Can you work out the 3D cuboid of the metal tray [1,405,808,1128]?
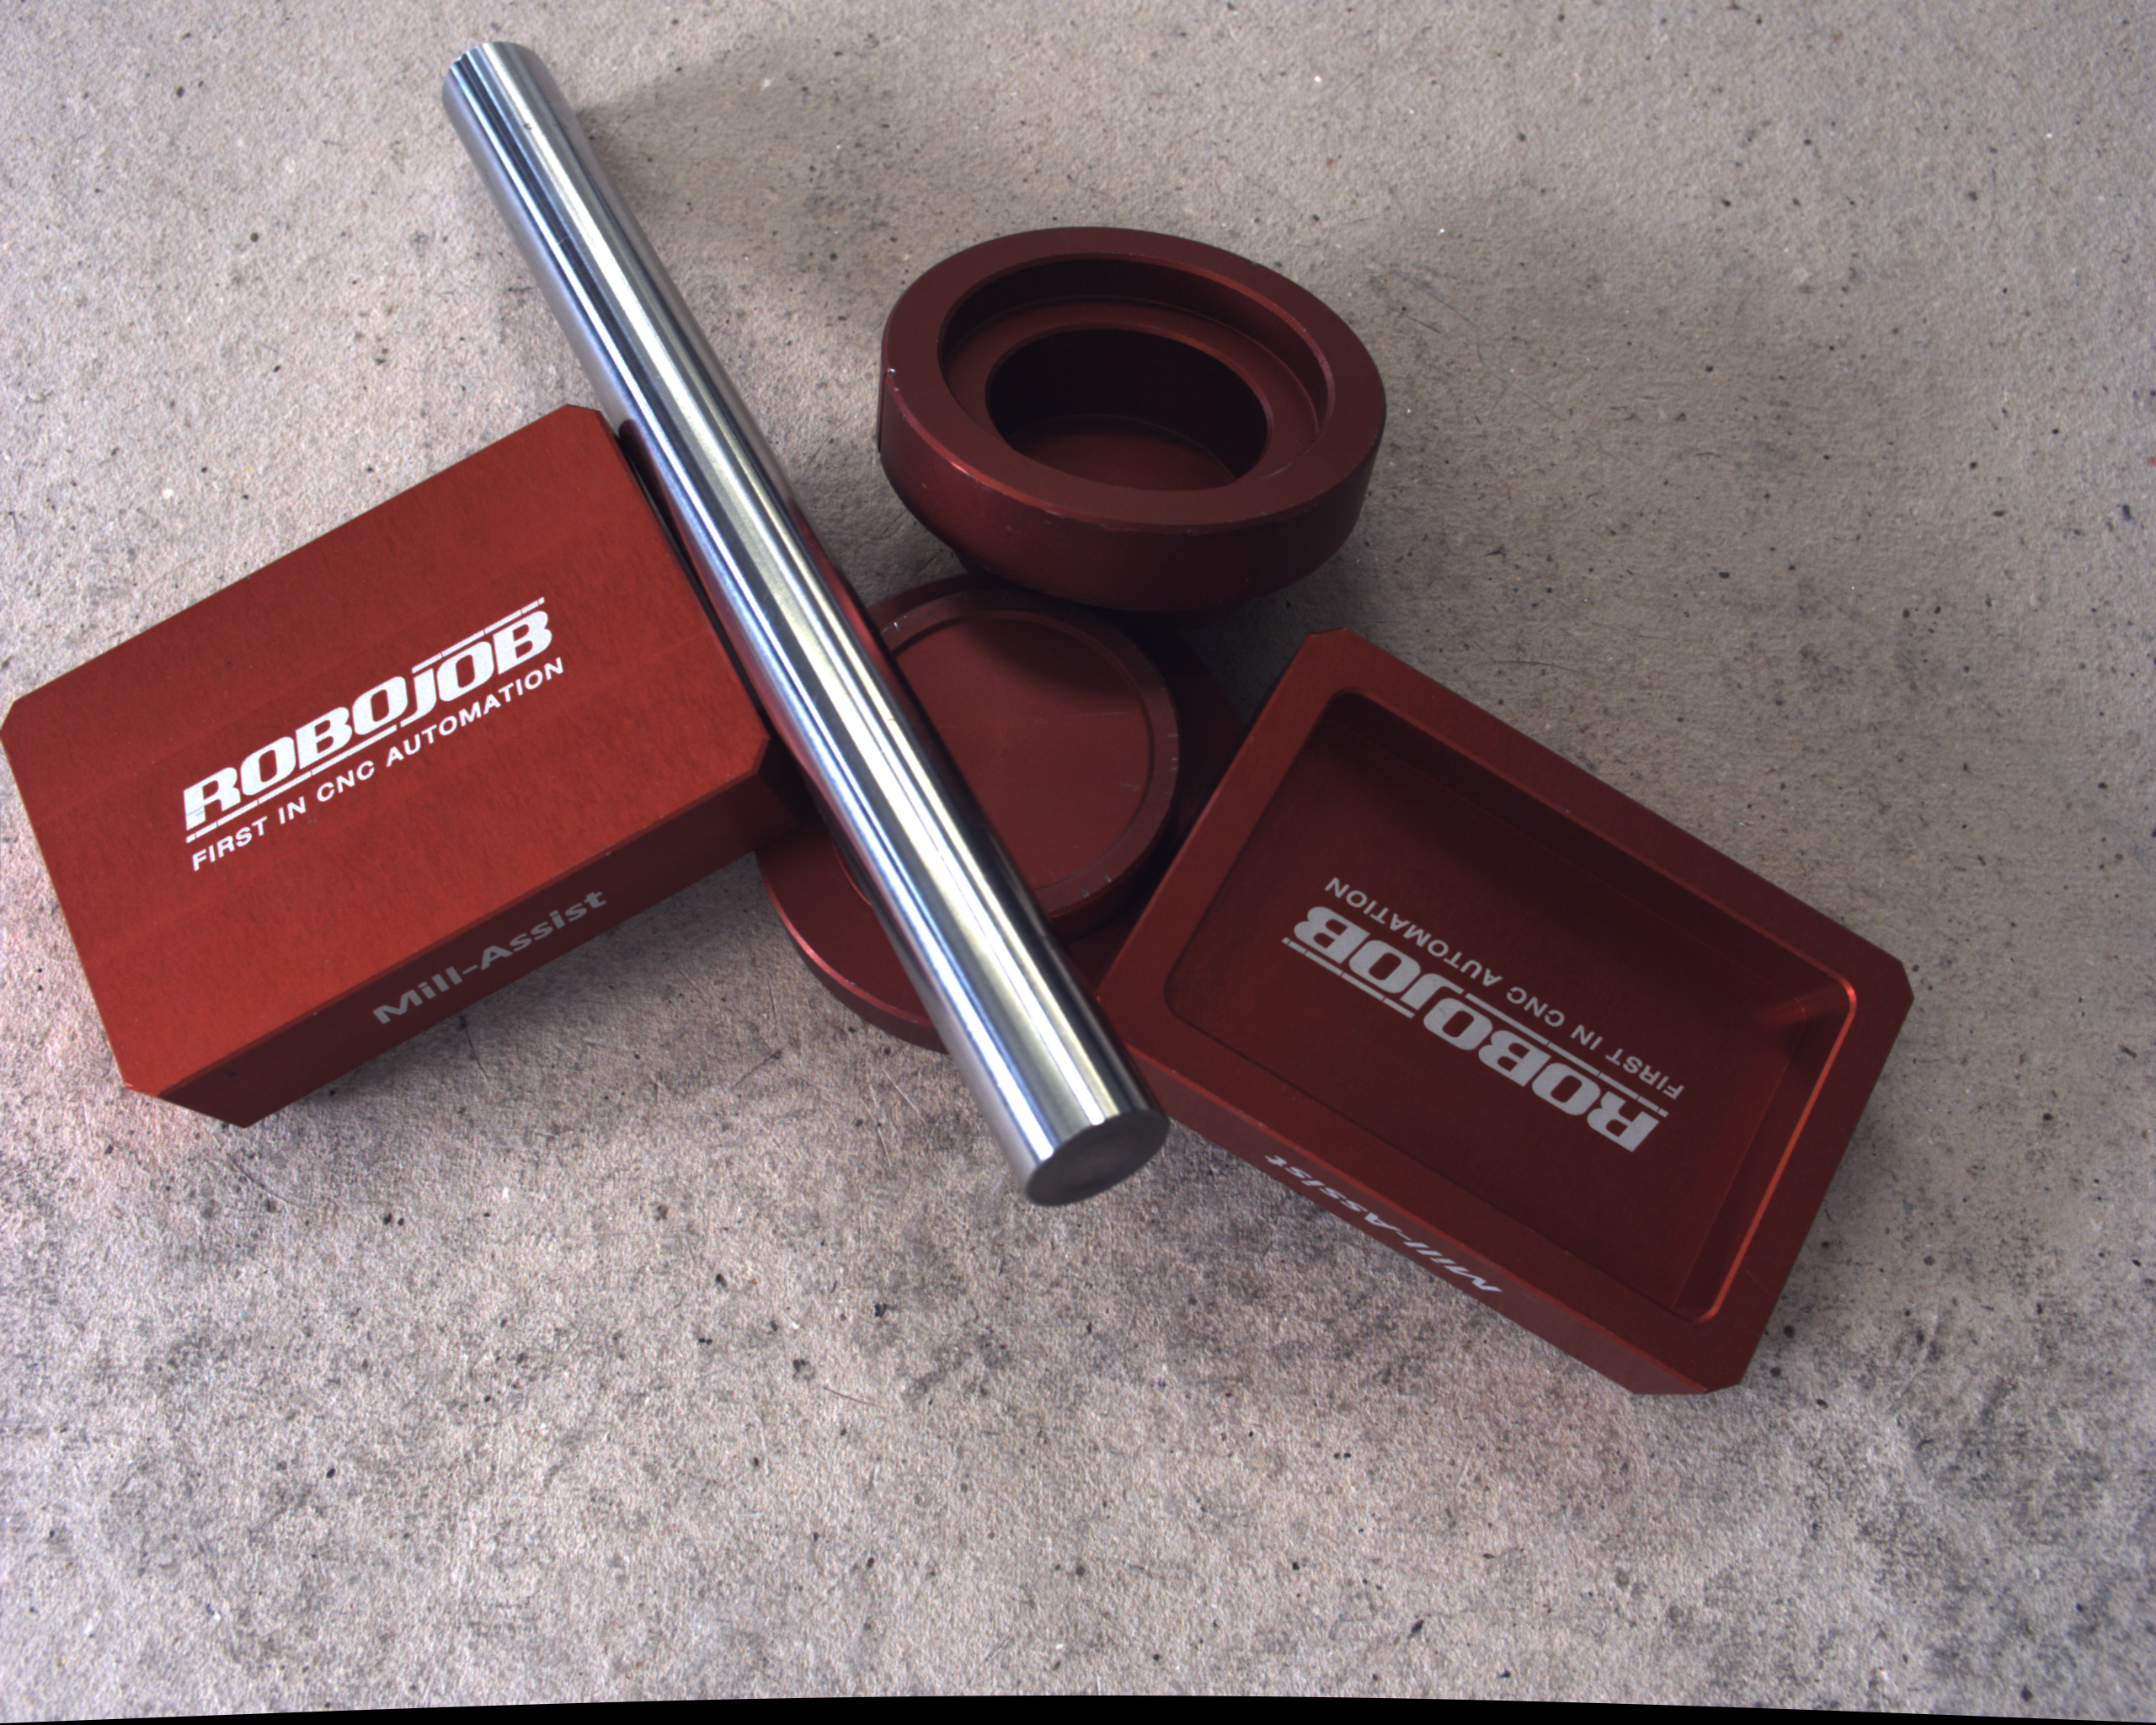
[{"bbox_3d":[-0.129,-0.019,0.401,0.130,0.030,0.090,-29,70,-1],"label":"metal tray"}]

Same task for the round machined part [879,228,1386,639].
[{"bbox_3d":[0.009,-0.083,0.419,0.099,0.042,0.098,4,48,-5],"label":"round machined part"}]

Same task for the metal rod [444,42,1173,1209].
[{"bbox_3d":[-0.064,-0.064,0.397,0.025,0.025,0.299,-26,59,-9],"label":"metal rod"}]

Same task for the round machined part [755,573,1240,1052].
[{"bbox_3d":[-0.015,-0.014,0.406,0.099,0.042,0.098,0,70,0],"label":"round machined part"}]

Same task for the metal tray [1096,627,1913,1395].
[{"bbox_3d":[0.076,0.027,0.386,0.130,0.030,0.090,31,72,0],"label":"metal tray"}]
